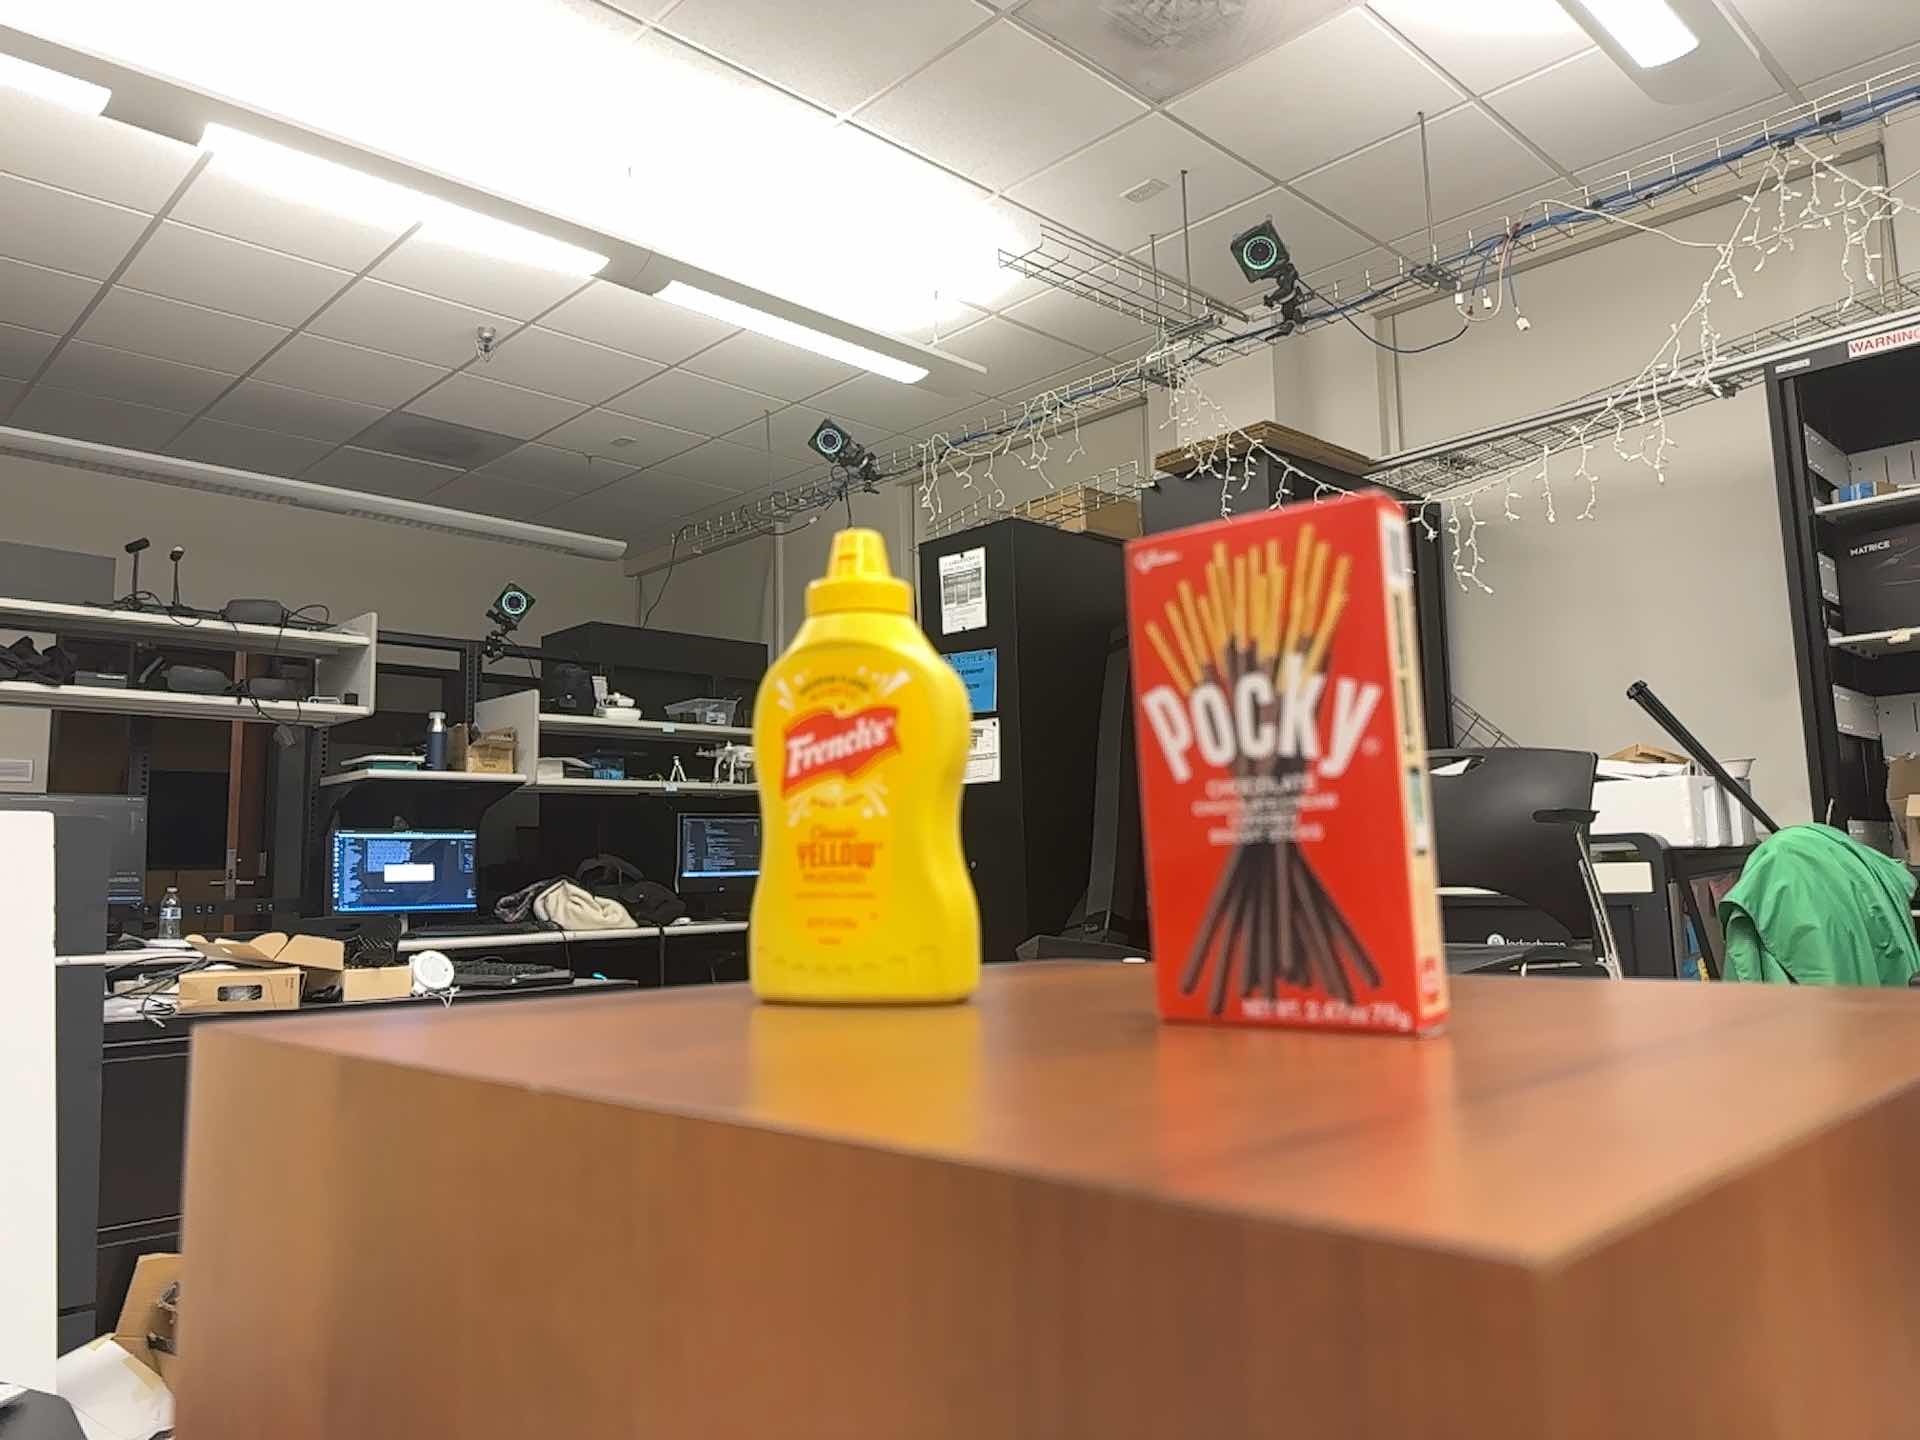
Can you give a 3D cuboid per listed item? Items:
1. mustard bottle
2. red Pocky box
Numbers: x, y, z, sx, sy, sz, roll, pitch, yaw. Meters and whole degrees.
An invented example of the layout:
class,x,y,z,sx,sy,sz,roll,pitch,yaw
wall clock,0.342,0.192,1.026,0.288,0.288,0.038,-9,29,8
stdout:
class,x,y,z,sx,sy,sz,roll,pitch,yaw
mustard bottle,-0.037,0.020,0.512,0.092,0.184,0.054,-7,-11,27
red Pocky box,0.093,0.011,0.398,0.083,0.155,0.028,-11,-13,40
